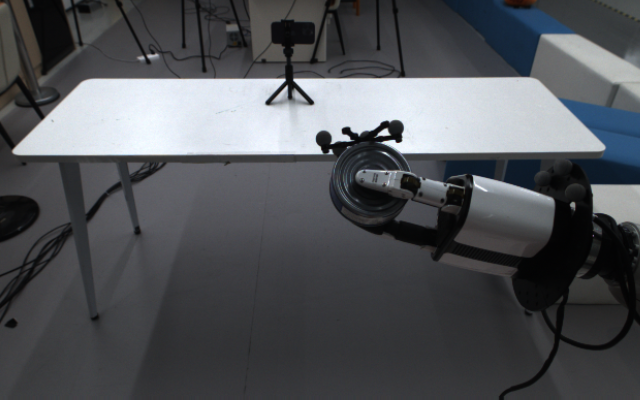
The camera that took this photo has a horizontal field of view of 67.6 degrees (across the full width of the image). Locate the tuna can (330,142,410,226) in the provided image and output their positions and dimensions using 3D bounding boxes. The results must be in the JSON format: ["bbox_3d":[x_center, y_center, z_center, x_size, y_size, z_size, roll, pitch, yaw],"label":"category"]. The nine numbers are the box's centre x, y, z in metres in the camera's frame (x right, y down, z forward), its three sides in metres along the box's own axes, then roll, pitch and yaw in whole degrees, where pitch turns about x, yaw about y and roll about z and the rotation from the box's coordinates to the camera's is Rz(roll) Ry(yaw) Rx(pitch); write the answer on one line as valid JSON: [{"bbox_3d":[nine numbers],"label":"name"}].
[{"bbox_3d":[0.056,-0.020,0.509,0.085,0.034,0.085,0,72,-1],"label":"tuna can"}]
